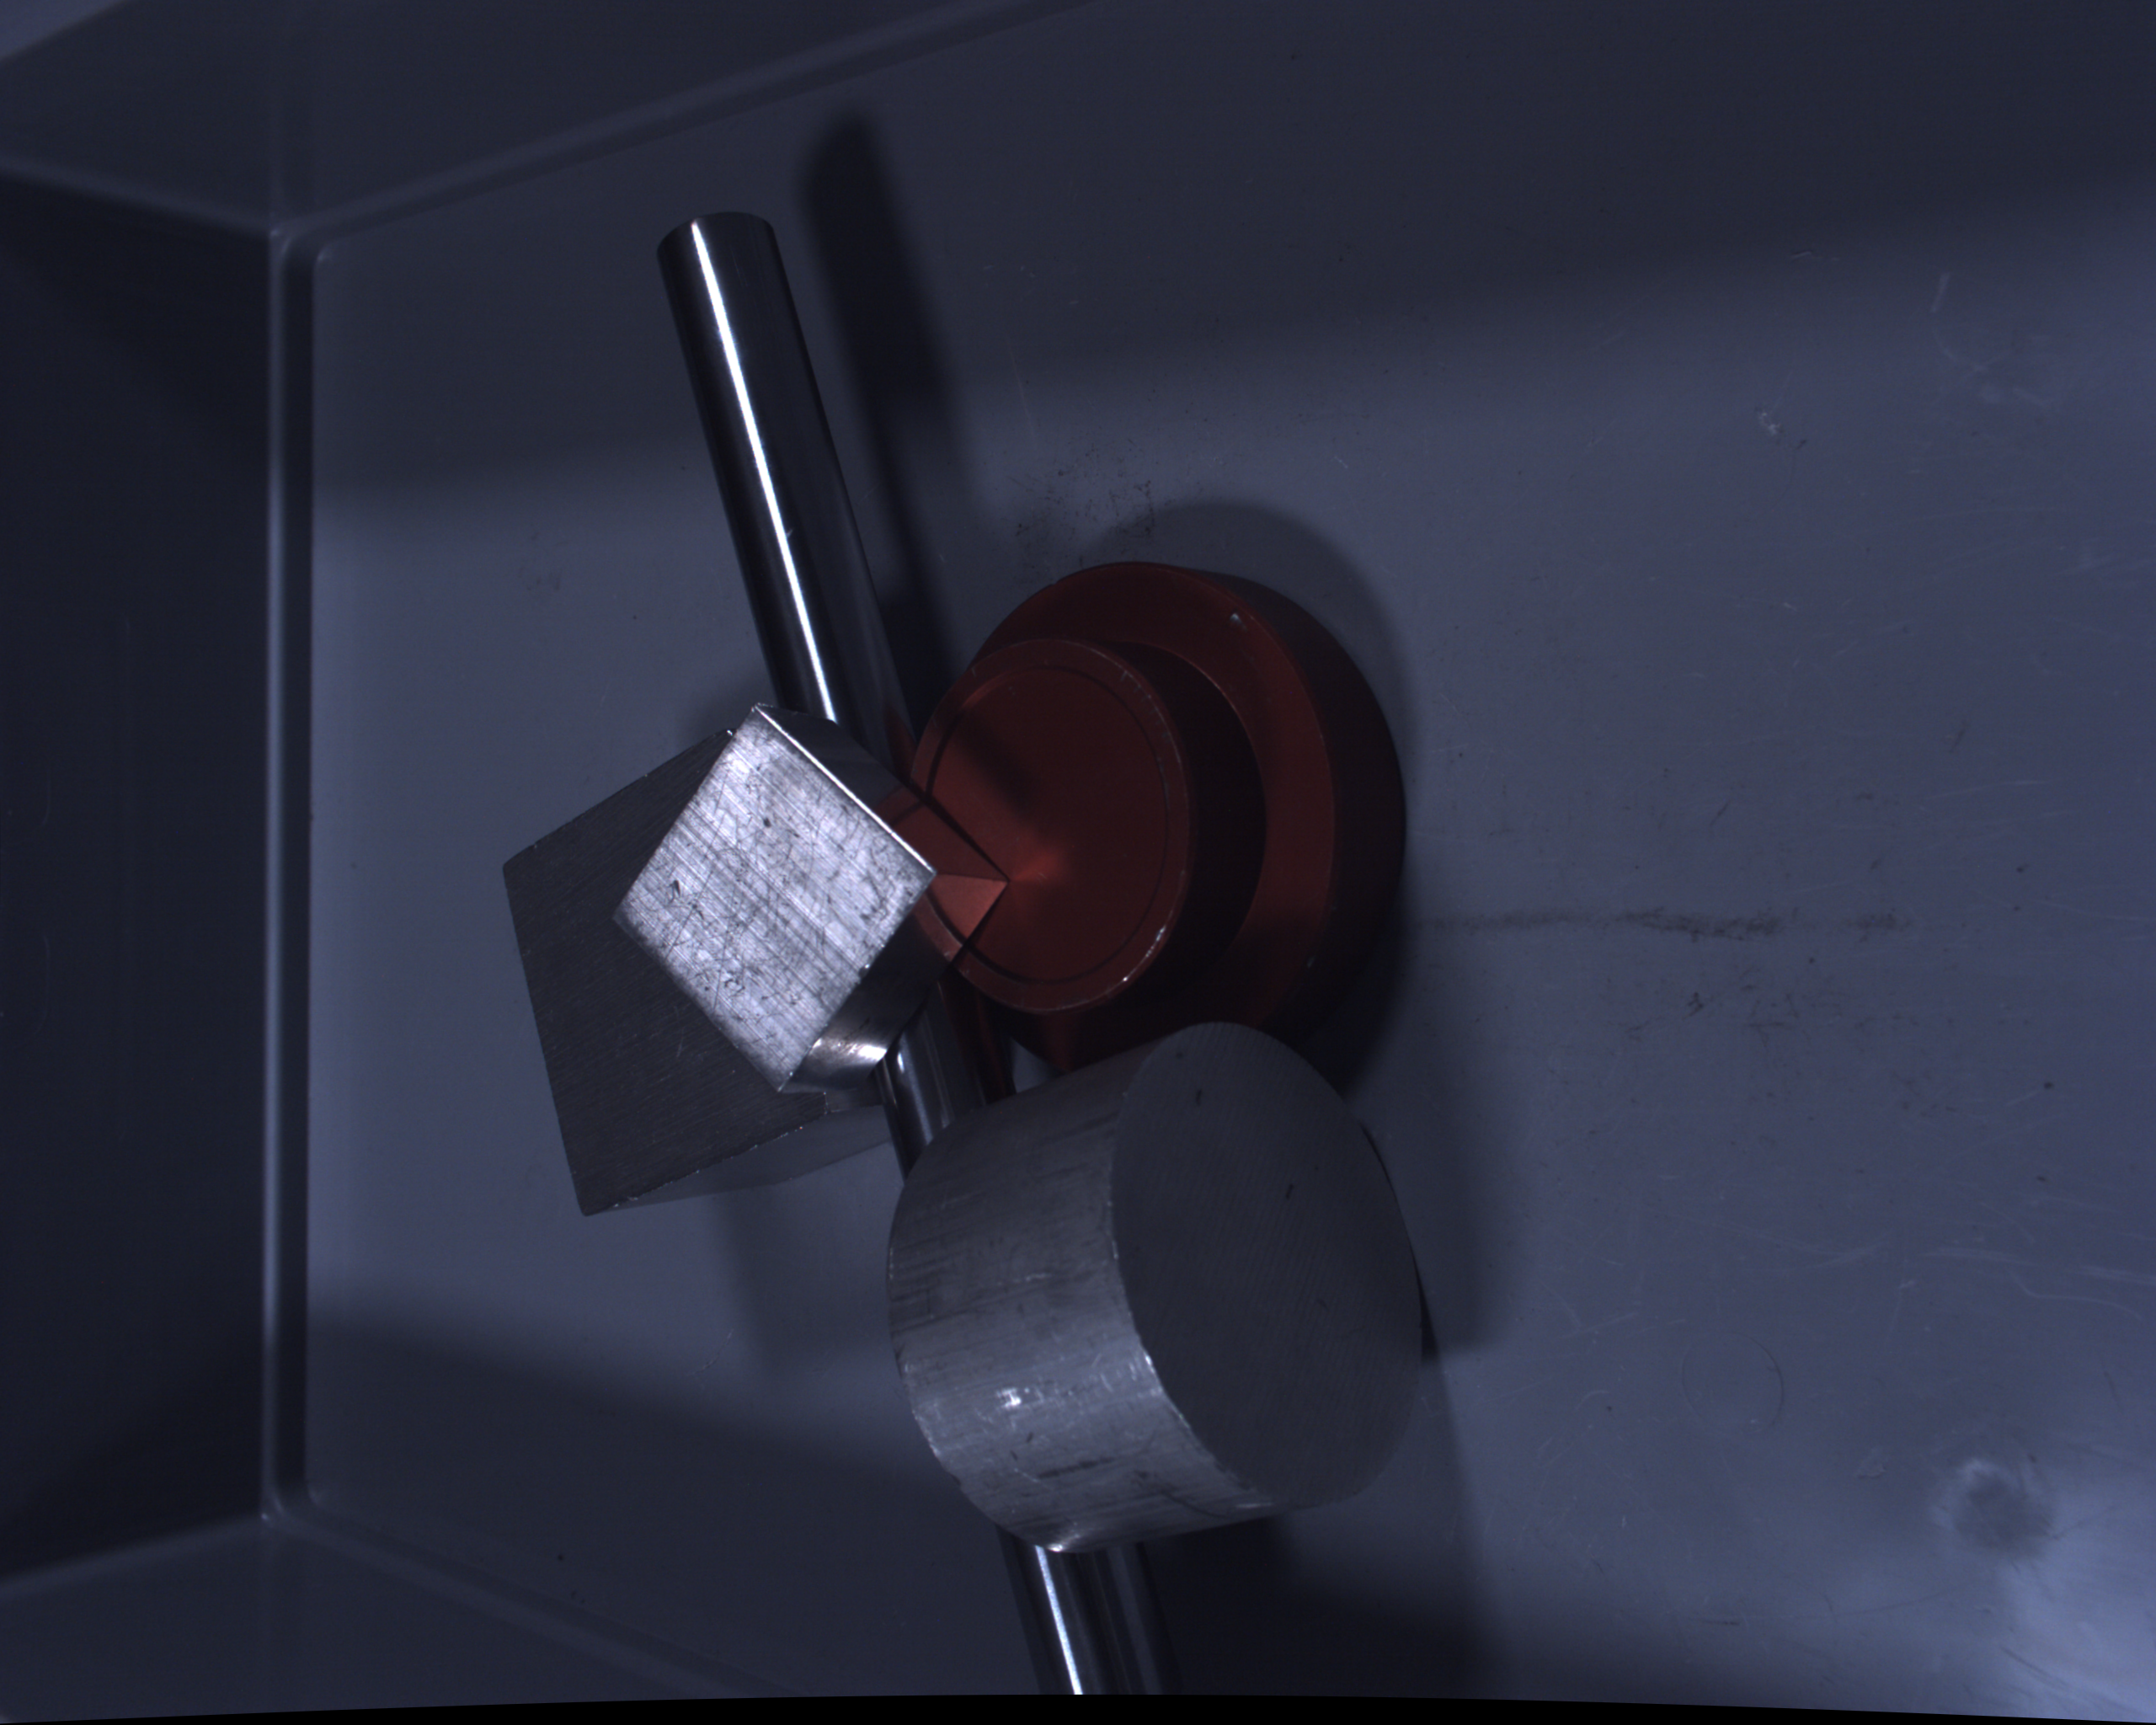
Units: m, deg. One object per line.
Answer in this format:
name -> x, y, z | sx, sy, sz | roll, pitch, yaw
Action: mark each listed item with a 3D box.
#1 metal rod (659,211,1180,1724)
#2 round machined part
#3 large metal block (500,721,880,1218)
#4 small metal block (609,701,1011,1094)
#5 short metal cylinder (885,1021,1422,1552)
metal rod -> -0.035, 0.010, 0.404 | 0.025, 0.025, 0.299 | -26, 74, 37
round machined part -> 0.007, -0.007, 0.386 | 0.098, 0.042, 0.097 | 0, 90, 39
large metal block -> -0.070, 0.023, 0.441 | 0.080, 0.050, 0.080 | -26, 74, 37
small metal block -> -0.049, 0.007, 0.381 | 0.050, 0.025, 0.050 | 42, 104, 24
short metal cylinder -> 0.014, 0.073, 0.356 | 0.050, 0.081, 0.080 | -26, 74, 37
